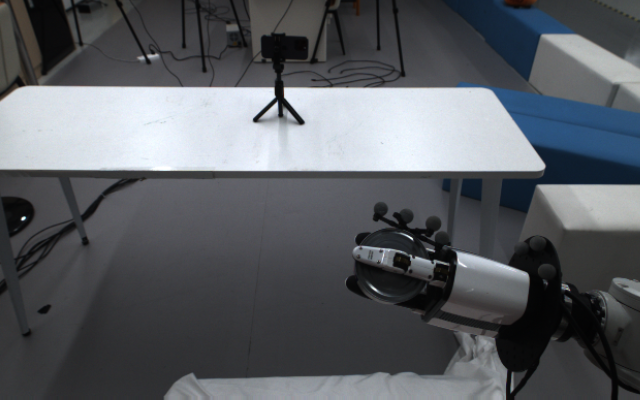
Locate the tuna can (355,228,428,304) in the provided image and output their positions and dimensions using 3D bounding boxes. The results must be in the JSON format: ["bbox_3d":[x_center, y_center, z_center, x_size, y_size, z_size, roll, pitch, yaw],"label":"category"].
[{"bbox_3d":[0.084,0.074,0.563,0.085,0.034,0.085,0,72,0],"label":"tuna can"}]
